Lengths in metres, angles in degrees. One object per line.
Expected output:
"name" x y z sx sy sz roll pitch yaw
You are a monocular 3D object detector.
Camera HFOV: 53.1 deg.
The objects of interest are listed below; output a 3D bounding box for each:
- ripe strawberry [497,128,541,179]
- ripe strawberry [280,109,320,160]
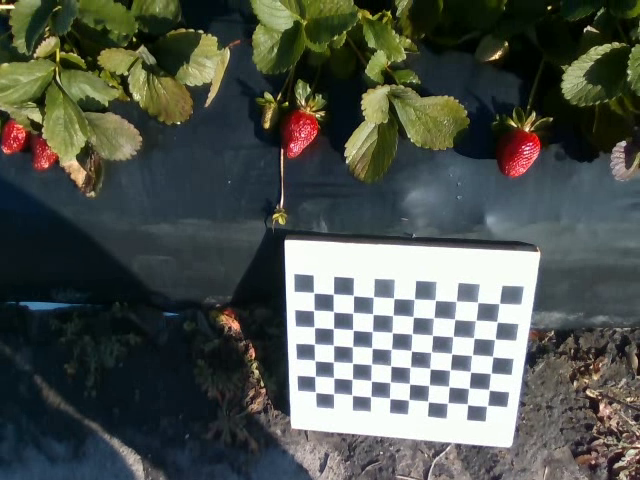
"ripe strawberry" 0.182 -0.077 0.588 0.042 0.050 0.043 34 -24 -10
"ripe strawberry" -0.021 -0.102 0.615 0.041 0.053 0.043 12 -19 -1
